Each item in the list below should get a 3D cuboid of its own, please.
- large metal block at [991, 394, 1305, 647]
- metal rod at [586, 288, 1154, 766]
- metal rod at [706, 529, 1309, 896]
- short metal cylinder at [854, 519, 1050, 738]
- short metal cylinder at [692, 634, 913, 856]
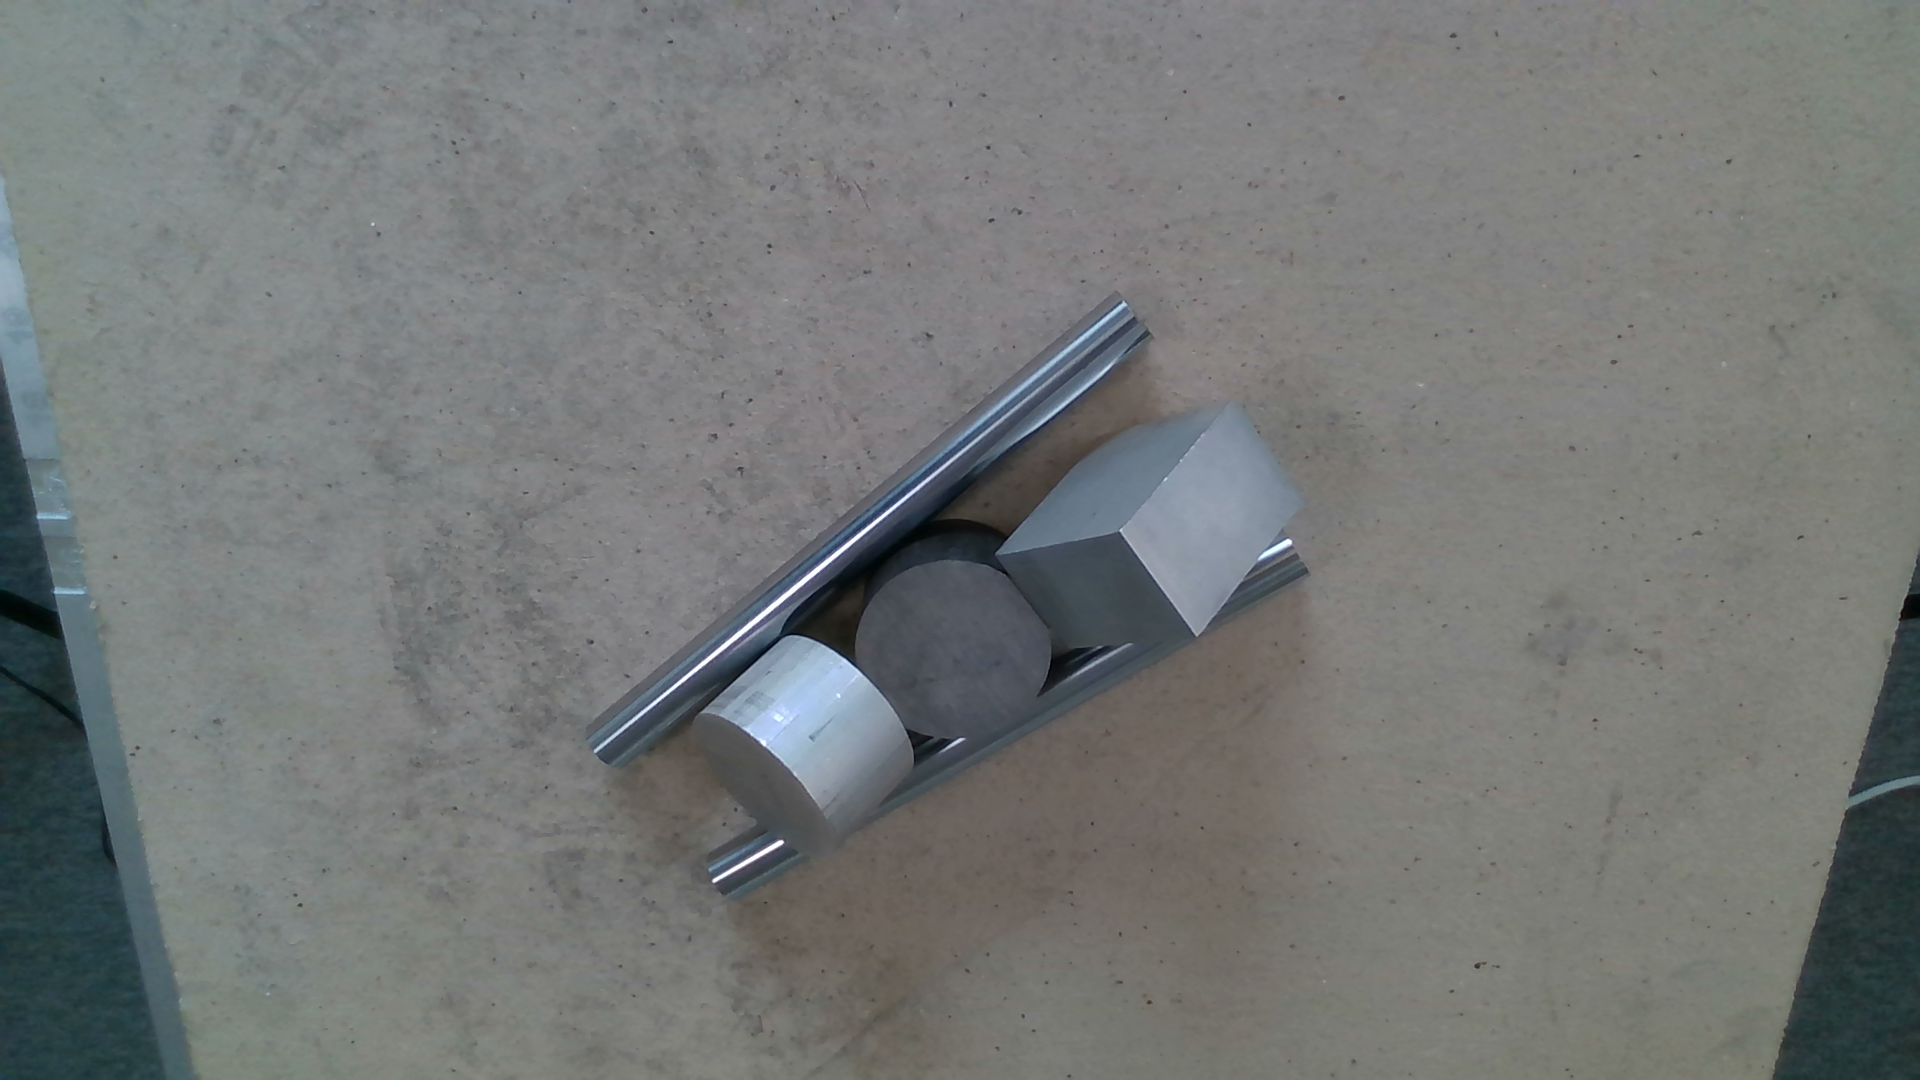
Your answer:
[{"bbox_3d":[0.073,-0.006,0.537,0.080,0.080,0.050,-47,108,-28],"label":"large metal block"},{"bbox_3d":[-0.044,0.000,0.585,0.300,0.025,0.025,-39,106,13],"label":"metal rod"},{"bbox_3d":[0.016,0.079,0.614,0.300,0.025,0.025,-31,107,11],"label":"metal rod"},{"bbox_3d":[-0.003,0.037,0.585,0.080,0.050,0.080,0,110,0],"label":"short metal cylinder"},{"bbox_3d":[-0.066,0.086,0.582,0.050,0.080,0.080,-43,110,-30],"label":"short metal cylinder"}]
